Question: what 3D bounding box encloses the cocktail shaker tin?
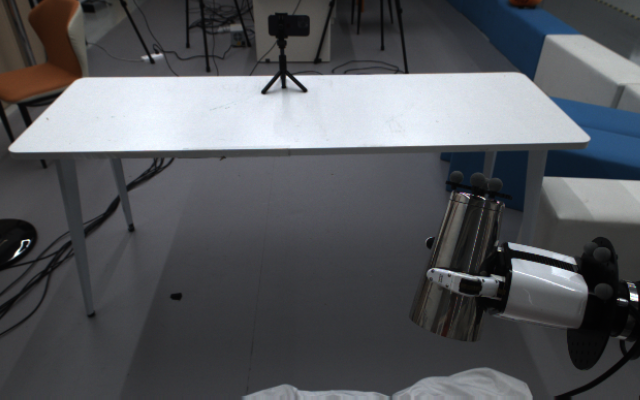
[{"bbox_3d":[0.179,0.078,0.612,0.093,0.170,0.093,13,5,-1],"label":"cocktail shaker tin"}]
